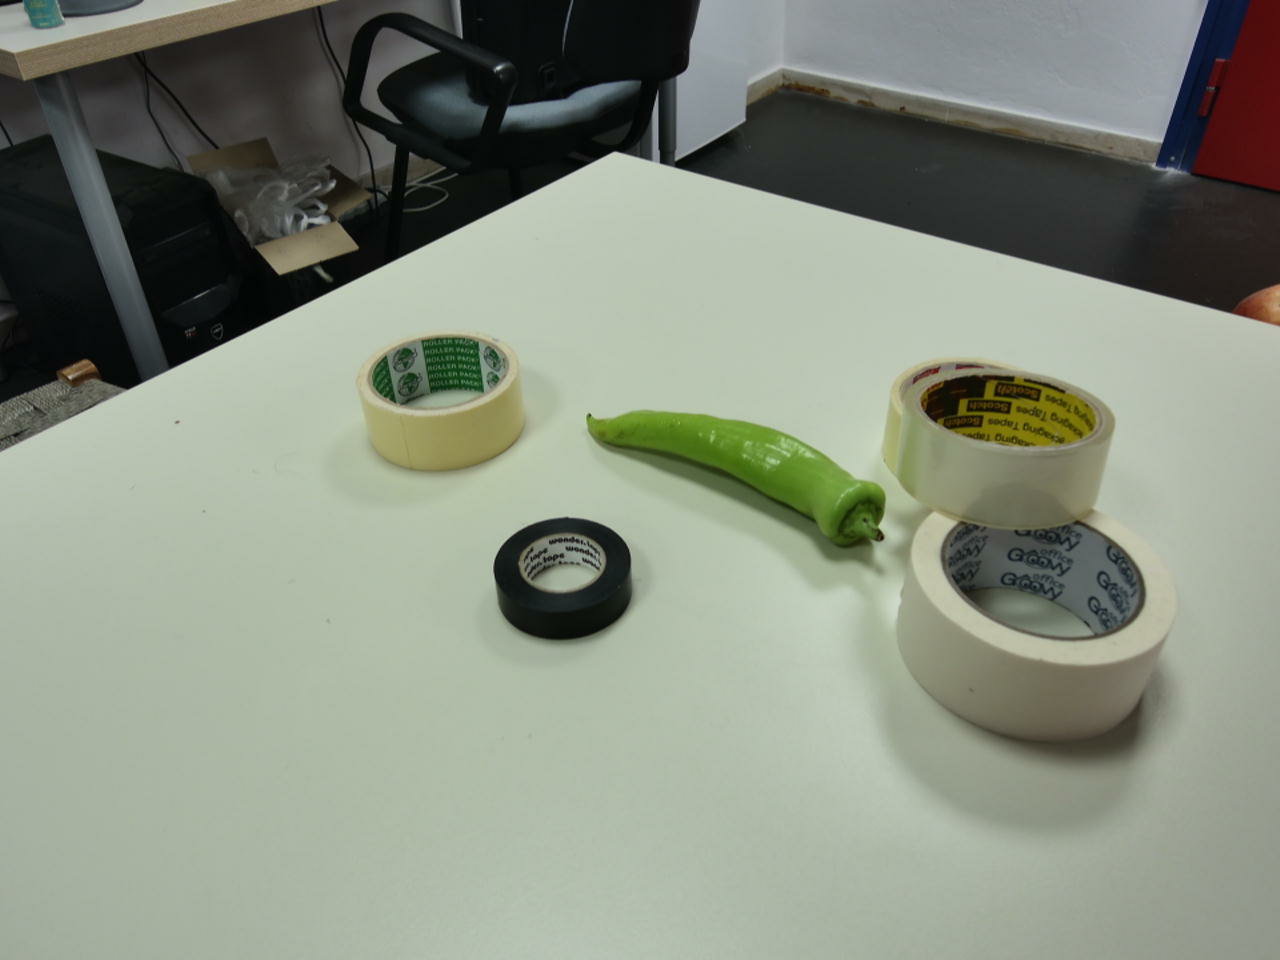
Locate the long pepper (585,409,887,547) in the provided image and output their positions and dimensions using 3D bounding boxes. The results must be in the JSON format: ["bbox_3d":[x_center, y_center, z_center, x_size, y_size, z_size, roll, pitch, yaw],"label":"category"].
[{"bbox_3d":[0.051,-0.014,0.537,0.197,0.038,0.046,27,45,32],"label":"long pepper"}]
